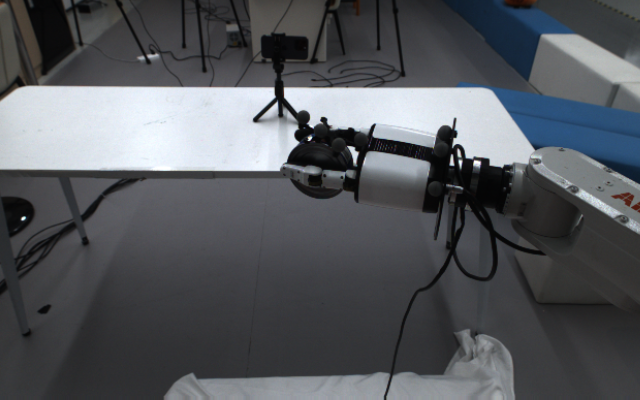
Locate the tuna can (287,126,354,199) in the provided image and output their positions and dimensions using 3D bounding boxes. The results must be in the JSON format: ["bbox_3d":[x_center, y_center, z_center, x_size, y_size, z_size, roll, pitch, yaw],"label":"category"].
[{"bbox_3d":[0.003,-0.048,0.652,0.085,0.085,0.034,12,33,14],"label":"tuna can"}]
